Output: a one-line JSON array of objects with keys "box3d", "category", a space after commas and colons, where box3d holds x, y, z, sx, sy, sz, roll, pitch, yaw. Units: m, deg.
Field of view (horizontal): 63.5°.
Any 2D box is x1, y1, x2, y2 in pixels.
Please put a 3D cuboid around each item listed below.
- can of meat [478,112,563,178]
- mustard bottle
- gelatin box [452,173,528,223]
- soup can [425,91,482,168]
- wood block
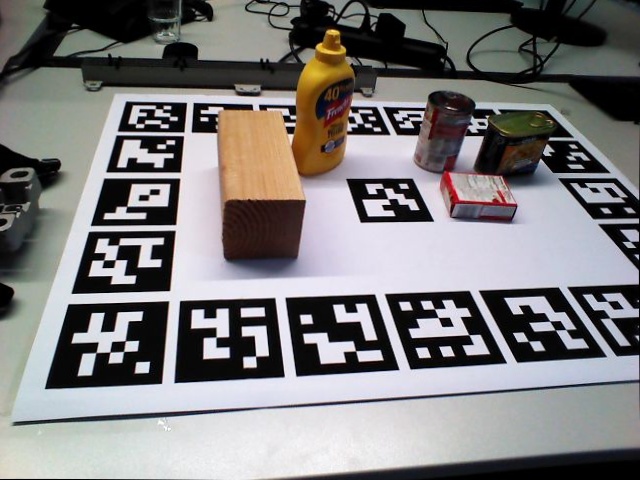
[{"box3d": [0.297, -0.140, 0.774, 0.101, 0.084, 0.057, -10, 45, -21], "category": "can of meat"}, {"box3d": [0.011, -0.181, 0.707, 0.096, 0.192, 0.058, -19, 47, -29], "category": "mustard bottle"}, {"box3d": [0.232, -0.060, 0.708, 0.089, 0.030, 0.073, 4, 43, 0], "category": "gelatin box"}, {"box3d": [0.199, -0.167, 0.763, 0.068, 0.102, 0.067, 3, 43, -4], "category": "soup can"}, {"box3d": [-0.075, -0.075, 0.645, 0.091, 0.090, 0.205, 0, 37, -10], "category": "wood block"}]
